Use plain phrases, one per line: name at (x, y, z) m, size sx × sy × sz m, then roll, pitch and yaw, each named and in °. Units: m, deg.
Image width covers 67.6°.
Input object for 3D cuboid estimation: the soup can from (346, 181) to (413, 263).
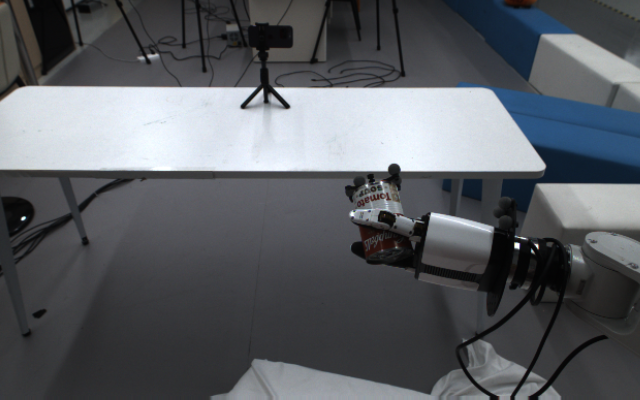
soup can at (0.089, 0.032, 0.682) m, size 0.067 × 0.067 × 0.101 m, roll -6°, pitch 67°, yaw -12°
